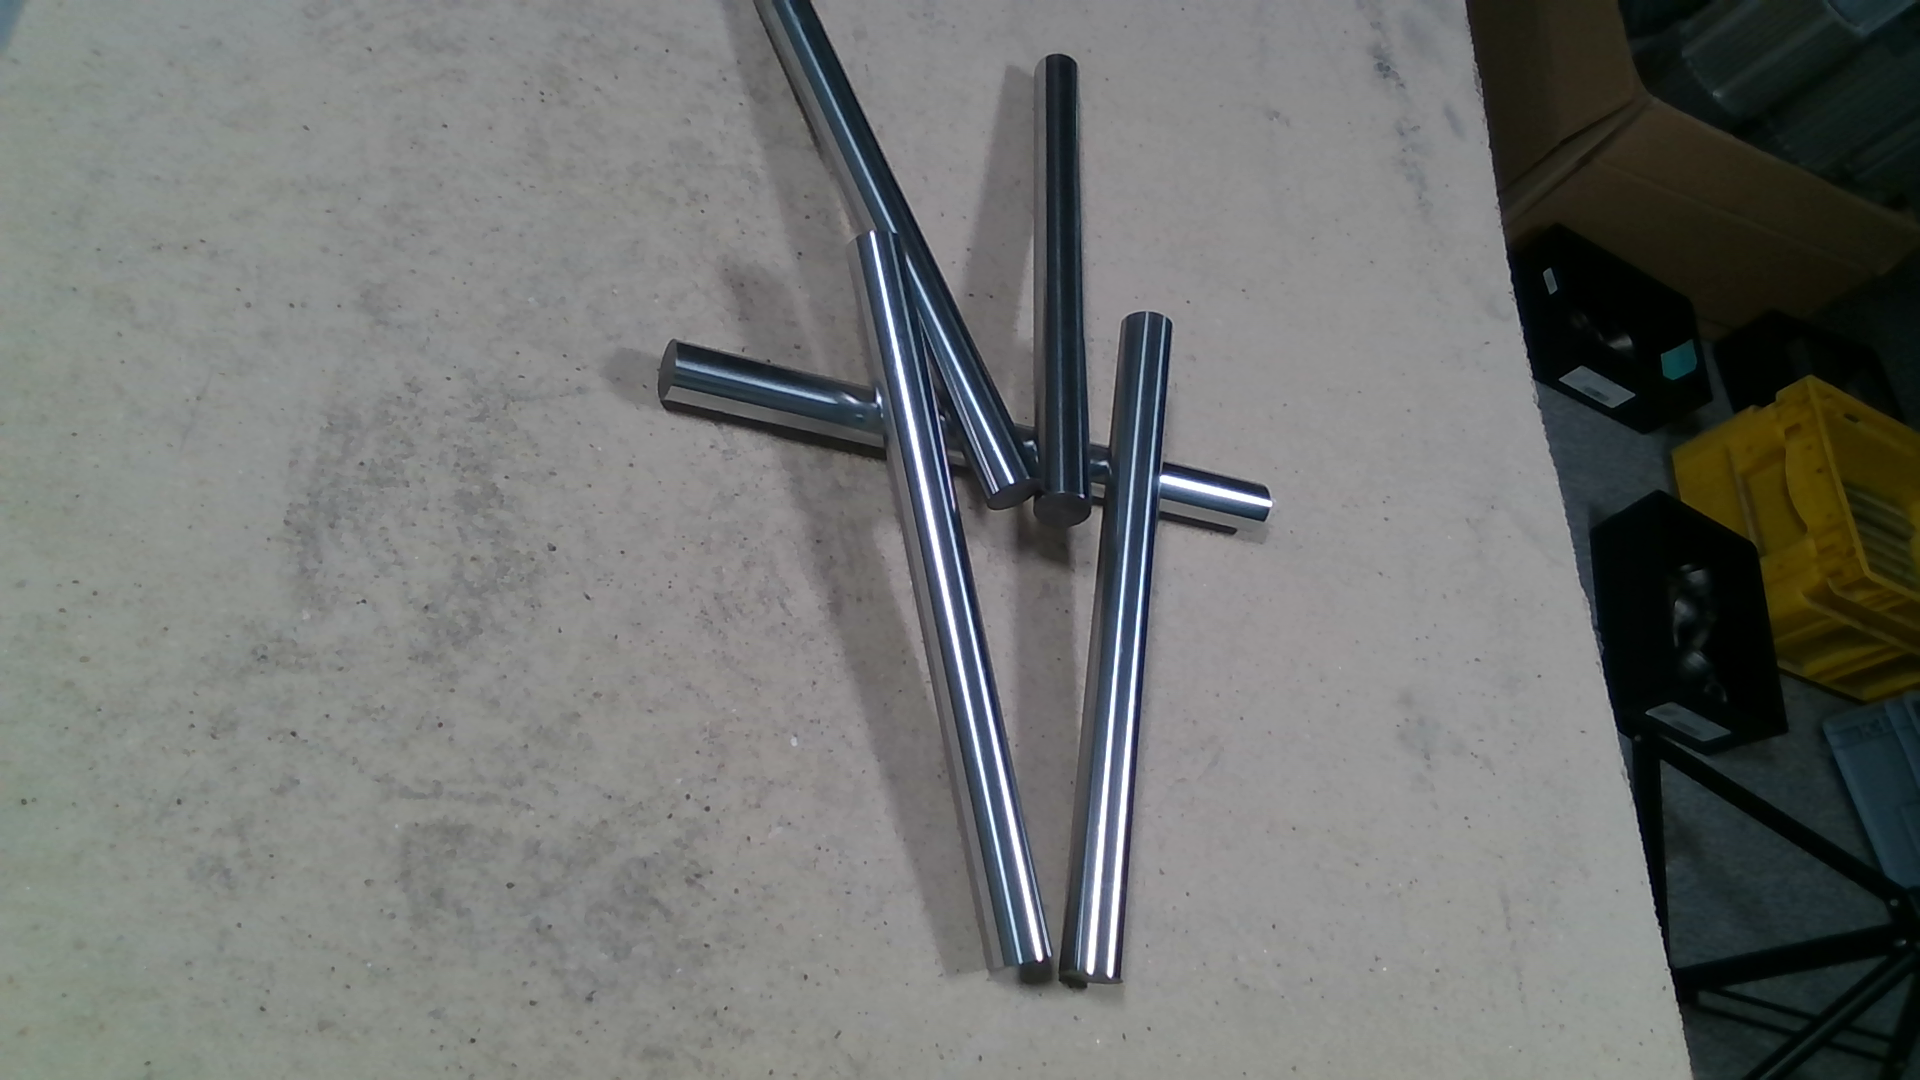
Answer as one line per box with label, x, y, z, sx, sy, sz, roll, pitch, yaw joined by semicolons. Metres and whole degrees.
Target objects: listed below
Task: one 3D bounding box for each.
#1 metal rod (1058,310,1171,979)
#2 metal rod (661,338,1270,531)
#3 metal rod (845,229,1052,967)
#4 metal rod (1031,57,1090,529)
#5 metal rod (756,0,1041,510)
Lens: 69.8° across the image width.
metal rod;0.069;0.032;0.590;0.025;0.025;0.299;19;63;-22
metal rod;0.014;-0.043;0.618;0.300;0.025;0.025;11;60;-27
metal rod;-0.007;0.015;0.553;0.025;0.025;0.299;-3;73;-33
metal rod;0.047;-0.133;0.669;0.025;0.025;0.299;19;51;-22
metal rod;-0.035;-0.147;0.626;0.025;0.025;0.299;-9;65;-35
